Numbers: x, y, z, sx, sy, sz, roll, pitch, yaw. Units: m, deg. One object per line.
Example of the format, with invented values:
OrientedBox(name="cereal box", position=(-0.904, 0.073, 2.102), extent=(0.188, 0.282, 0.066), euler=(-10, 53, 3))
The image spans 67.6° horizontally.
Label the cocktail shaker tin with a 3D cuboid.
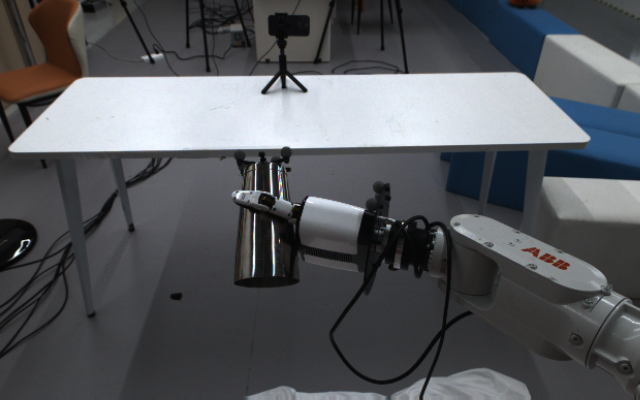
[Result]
OrientedBox(name="cocktail shaker tin", position=(-0.080, 0.036, 0.700), extent=(0.093, 0.093, 0.170), euler=(-2, 70, -5))
